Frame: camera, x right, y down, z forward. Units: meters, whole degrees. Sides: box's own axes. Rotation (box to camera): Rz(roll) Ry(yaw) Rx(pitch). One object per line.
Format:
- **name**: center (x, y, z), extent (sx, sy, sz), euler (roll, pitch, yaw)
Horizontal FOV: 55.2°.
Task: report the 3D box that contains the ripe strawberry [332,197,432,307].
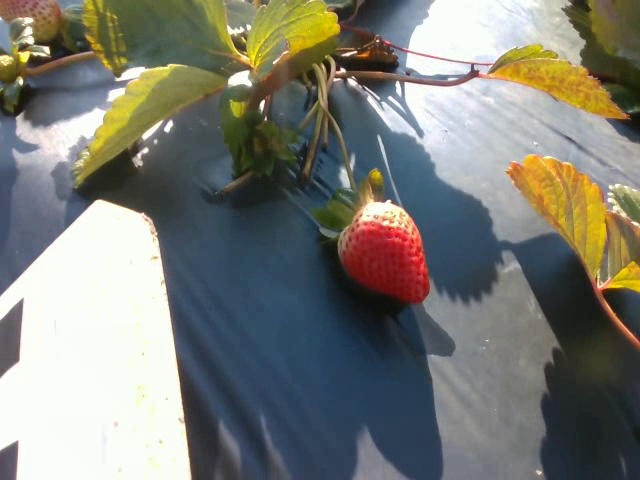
- **ripe strawberry**: center (0.031, 0.006, 0.255), extent (0.043, 0.045, 0.064), euler (22, 23, -49)
